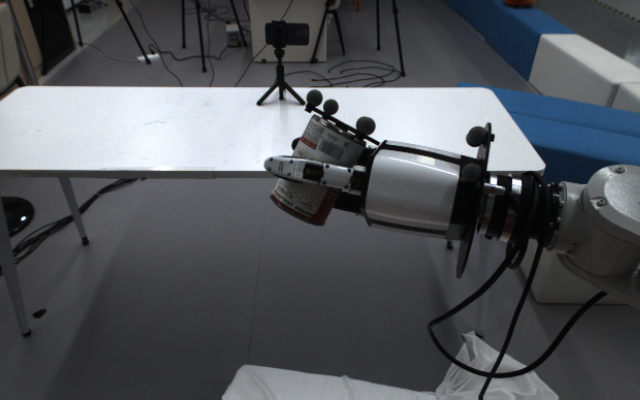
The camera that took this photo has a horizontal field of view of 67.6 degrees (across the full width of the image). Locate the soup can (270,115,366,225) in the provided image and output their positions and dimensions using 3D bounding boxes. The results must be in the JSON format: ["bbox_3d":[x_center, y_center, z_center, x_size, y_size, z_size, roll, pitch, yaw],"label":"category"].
[{"bbox_3d":[-0.001,-0.032,0.526,0.067,0.101,0.067,27,10,-5],"label":"soup can"}]
